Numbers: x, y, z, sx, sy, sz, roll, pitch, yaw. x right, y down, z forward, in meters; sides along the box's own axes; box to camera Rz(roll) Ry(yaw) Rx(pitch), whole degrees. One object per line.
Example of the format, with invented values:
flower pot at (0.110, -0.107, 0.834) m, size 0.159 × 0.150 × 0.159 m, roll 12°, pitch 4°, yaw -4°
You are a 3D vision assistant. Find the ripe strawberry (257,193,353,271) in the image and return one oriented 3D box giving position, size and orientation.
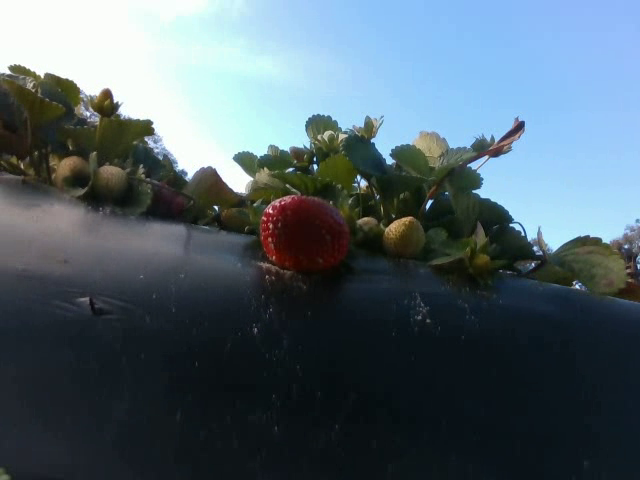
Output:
ripe strawberry at (-0.009, -0.011, 0.337) m, size 0.052 × 0.044 × 0.068 m, roll 13°, pitch -17°, yaw 2°
